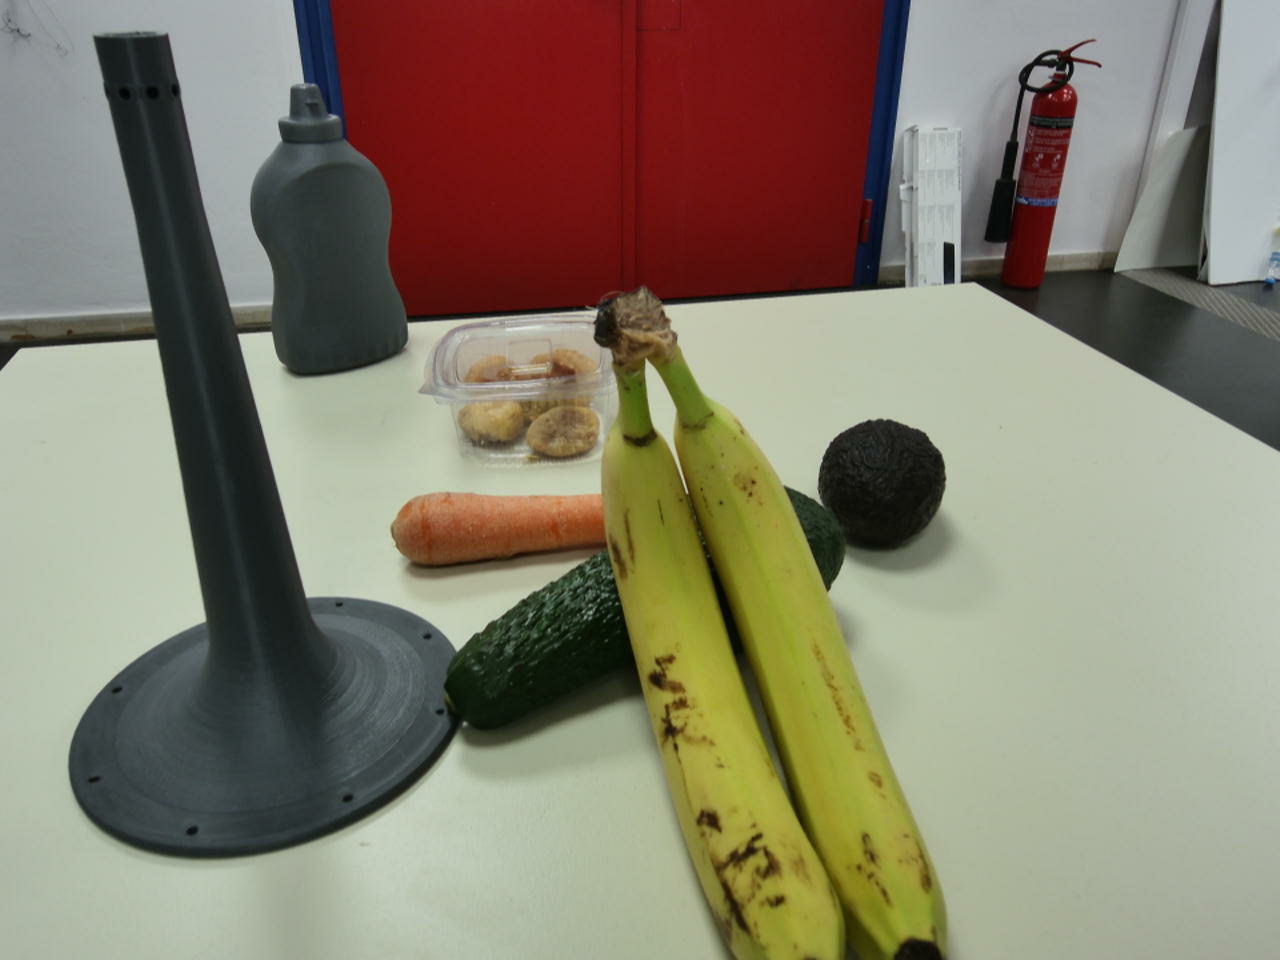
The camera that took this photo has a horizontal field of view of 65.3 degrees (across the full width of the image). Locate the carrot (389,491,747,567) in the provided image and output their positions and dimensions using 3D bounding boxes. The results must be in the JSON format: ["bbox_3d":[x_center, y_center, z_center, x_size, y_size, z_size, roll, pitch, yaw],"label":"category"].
[{"bbox_3d":[-0.035,0.020,0.544,0.196,0.041,0.039,-5,27,-11],"label":"carrot"}]
